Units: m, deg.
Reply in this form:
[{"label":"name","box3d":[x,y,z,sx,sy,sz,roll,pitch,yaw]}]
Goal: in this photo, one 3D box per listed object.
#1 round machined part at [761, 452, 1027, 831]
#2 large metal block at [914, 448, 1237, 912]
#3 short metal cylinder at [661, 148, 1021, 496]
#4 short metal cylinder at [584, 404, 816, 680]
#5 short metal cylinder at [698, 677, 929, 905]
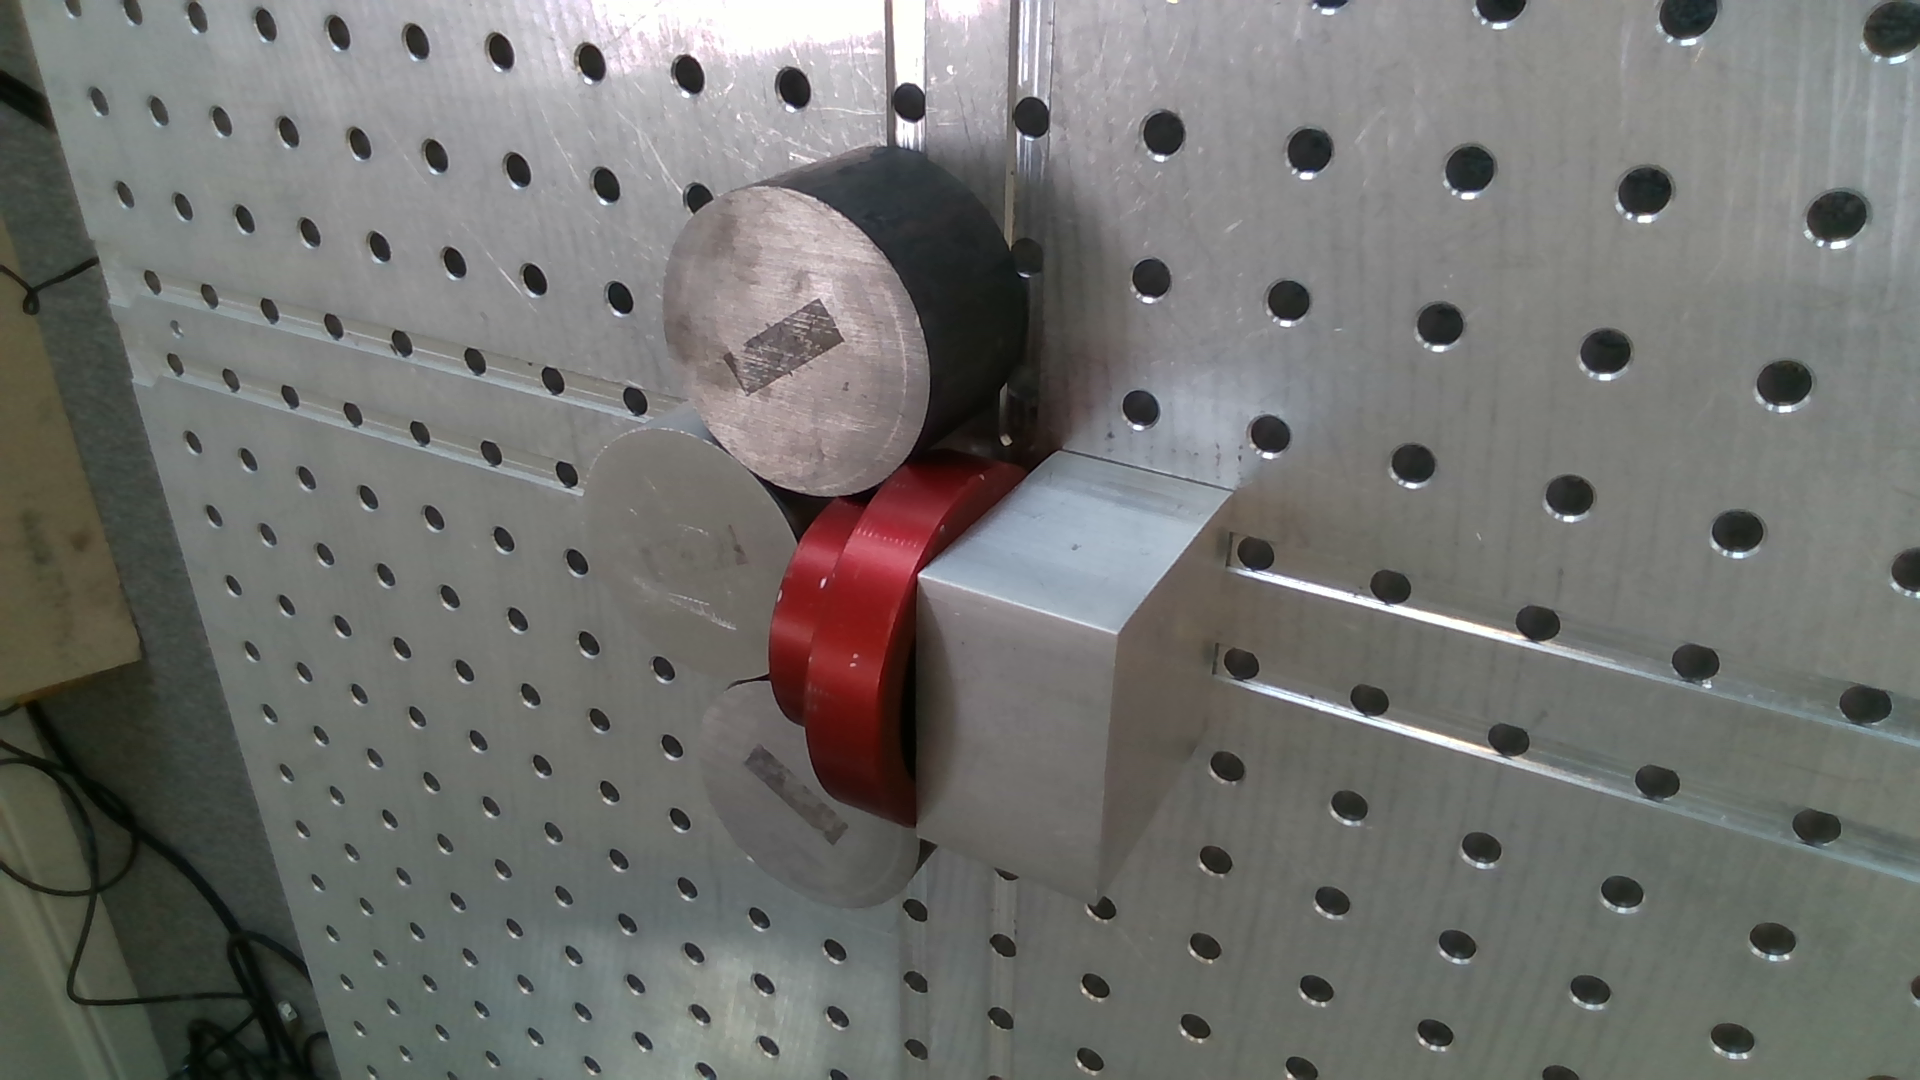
[{"label":"round machined part","box3d":[-0.016,0.023,0.365,0.042,0.098,0.098,16,122,23]},{"label":"large metal block","box3d":[0.030,0.032,0.355,0.050,0.080,0.080,15,122,24]},{"label":"short metal cylinder","box3d":[-0.031,-0.058,0.363,0.080,0.050,0.080,15,122,25]},{"label":"short metal cylinder","box3d":[-0.065,-0.005,0.413,0.080,0.050,0.080,15,122,25]},{"label":"short metal cylinder","box3d":[-0.035,0.067,0.434,0.080,0.050,0.080,15,122,25]}]
